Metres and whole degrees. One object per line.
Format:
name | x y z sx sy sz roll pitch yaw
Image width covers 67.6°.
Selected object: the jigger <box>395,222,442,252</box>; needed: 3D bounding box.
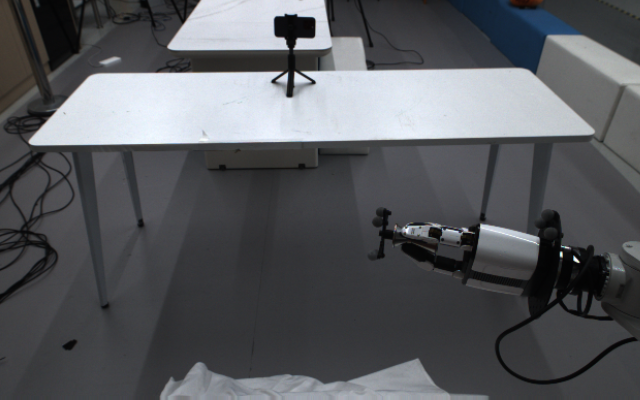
jigger | 0.155 0.056 0.751 0.071 0.043 0.043 7 35 14
